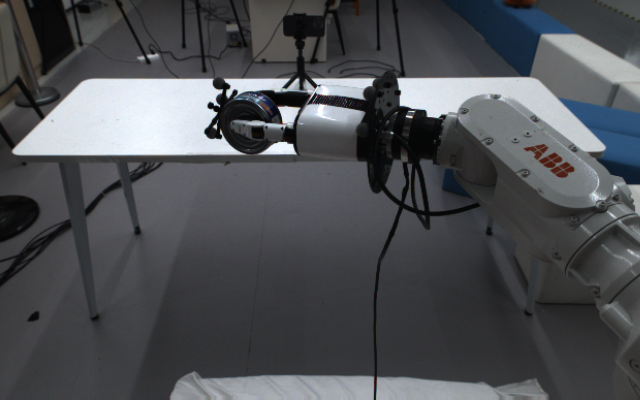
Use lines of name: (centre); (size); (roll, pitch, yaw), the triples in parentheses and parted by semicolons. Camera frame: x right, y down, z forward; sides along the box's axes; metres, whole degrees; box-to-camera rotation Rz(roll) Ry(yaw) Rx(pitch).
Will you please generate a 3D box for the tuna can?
tuna can: (-0.097, -0.106, 0.688); (0.085, 0.085, 0.034); (12, 31, 14)
